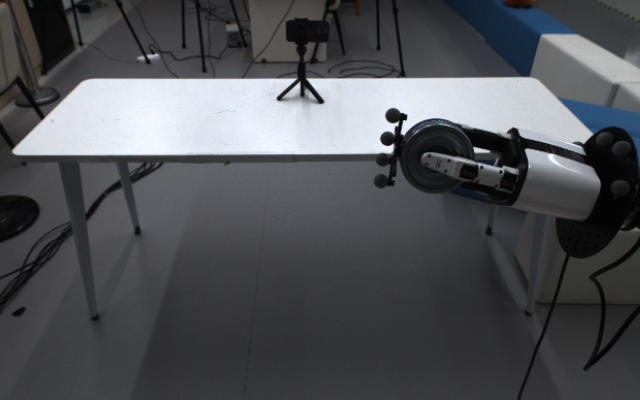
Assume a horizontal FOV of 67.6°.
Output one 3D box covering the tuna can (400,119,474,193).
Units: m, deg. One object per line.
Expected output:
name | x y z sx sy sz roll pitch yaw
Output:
tuna can | 0.138 -0.055 0.575 0.085 0.085 0.034 4 17 3
